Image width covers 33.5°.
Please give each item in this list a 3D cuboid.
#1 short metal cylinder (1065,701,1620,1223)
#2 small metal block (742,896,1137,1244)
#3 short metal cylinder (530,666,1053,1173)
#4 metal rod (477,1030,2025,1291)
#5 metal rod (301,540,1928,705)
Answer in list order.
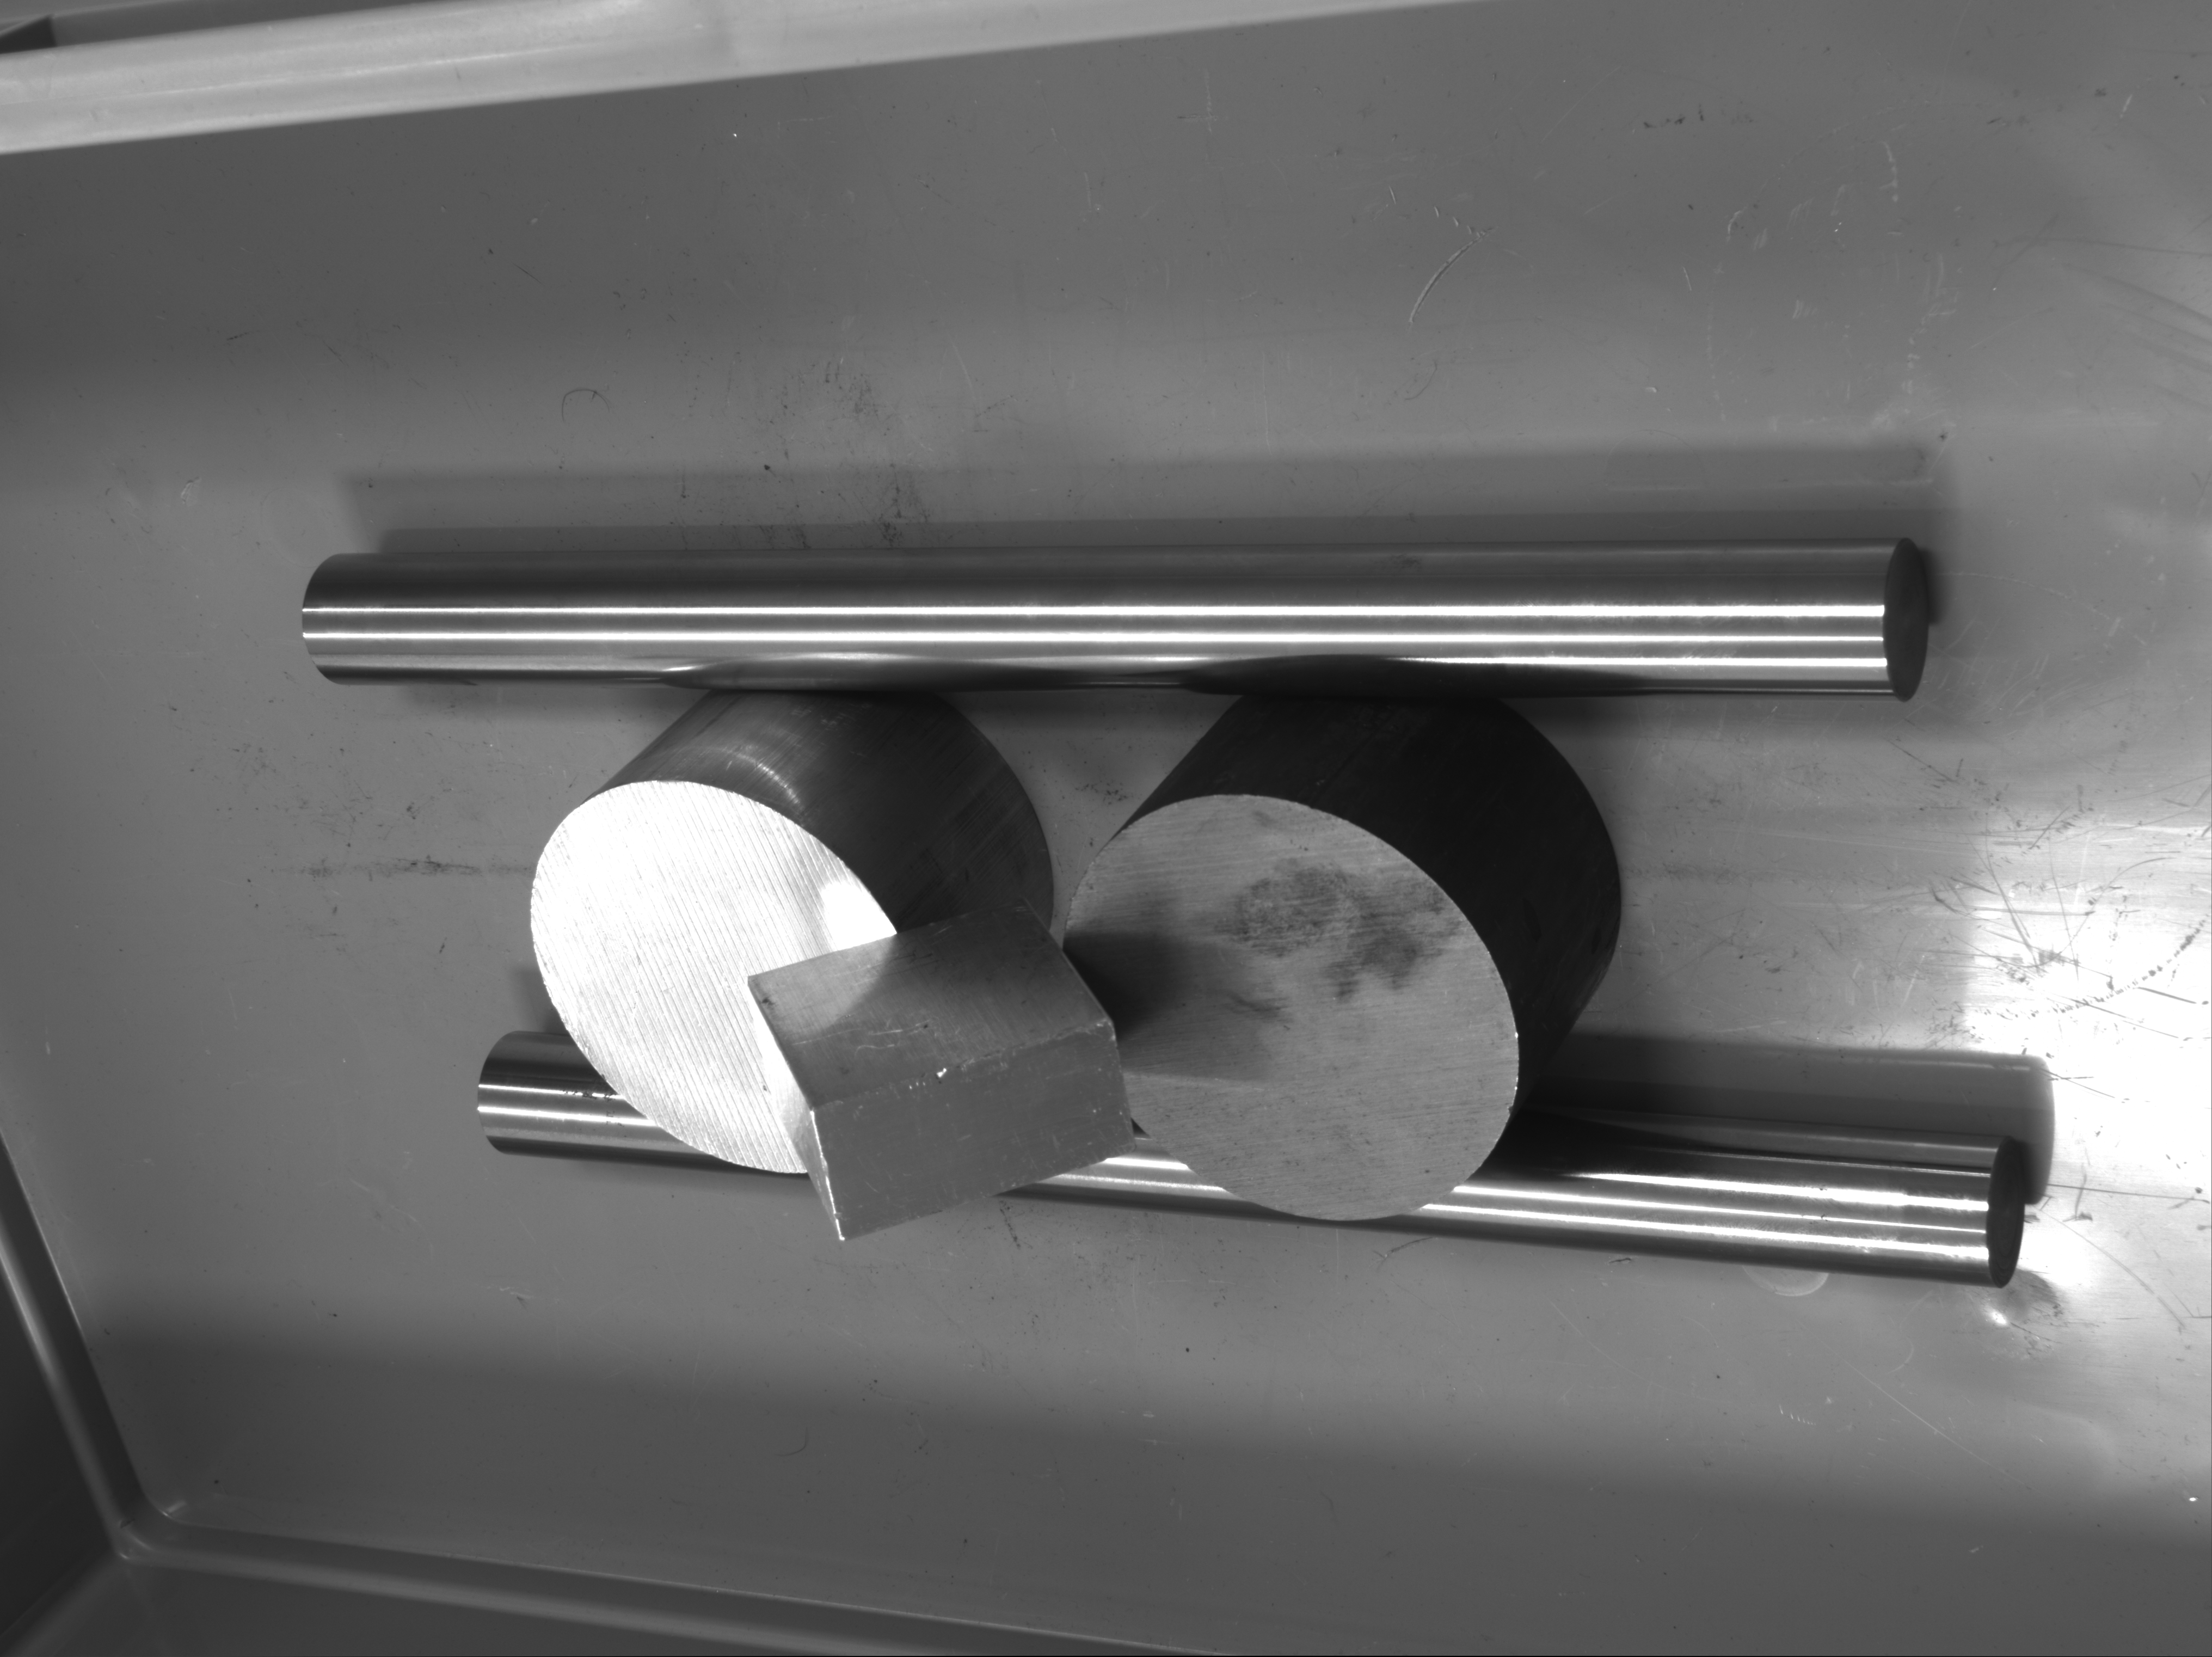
[{"bbox_3d":[0.040,0.019,0.616,0.080,0.050,0.080,13,124,21],"label":"short metal cylinder"},{"bbox_3d":[-0.028,0.039,0.605,0.050,0.050,0.025,-16,116,-12],"label":"small metal block"},{"bbox_3d":[-0.056,0.015,0.665,0.080,0.050,0.080,13,124,21],"label":"short metal cylinder"},{"bbox_3d":[0.014,0.058,0.669,0.299,0.025,0.025,2,119,27],"label":"metal rod"},{"bbox_3d":[-0.011,-0.035,0.626,0.299,0.025,0.025,2,119,27],"label":"metal rod"}]
